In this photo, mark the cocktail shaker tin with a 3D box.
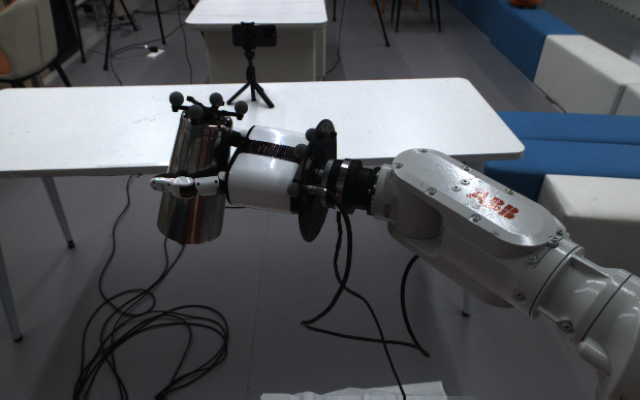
[{"bbox_3d":[-0.164,-0.036,0.657,0.093,0.170,0.093,12,29,-7],"label":"cocktail shaker tin"}]
